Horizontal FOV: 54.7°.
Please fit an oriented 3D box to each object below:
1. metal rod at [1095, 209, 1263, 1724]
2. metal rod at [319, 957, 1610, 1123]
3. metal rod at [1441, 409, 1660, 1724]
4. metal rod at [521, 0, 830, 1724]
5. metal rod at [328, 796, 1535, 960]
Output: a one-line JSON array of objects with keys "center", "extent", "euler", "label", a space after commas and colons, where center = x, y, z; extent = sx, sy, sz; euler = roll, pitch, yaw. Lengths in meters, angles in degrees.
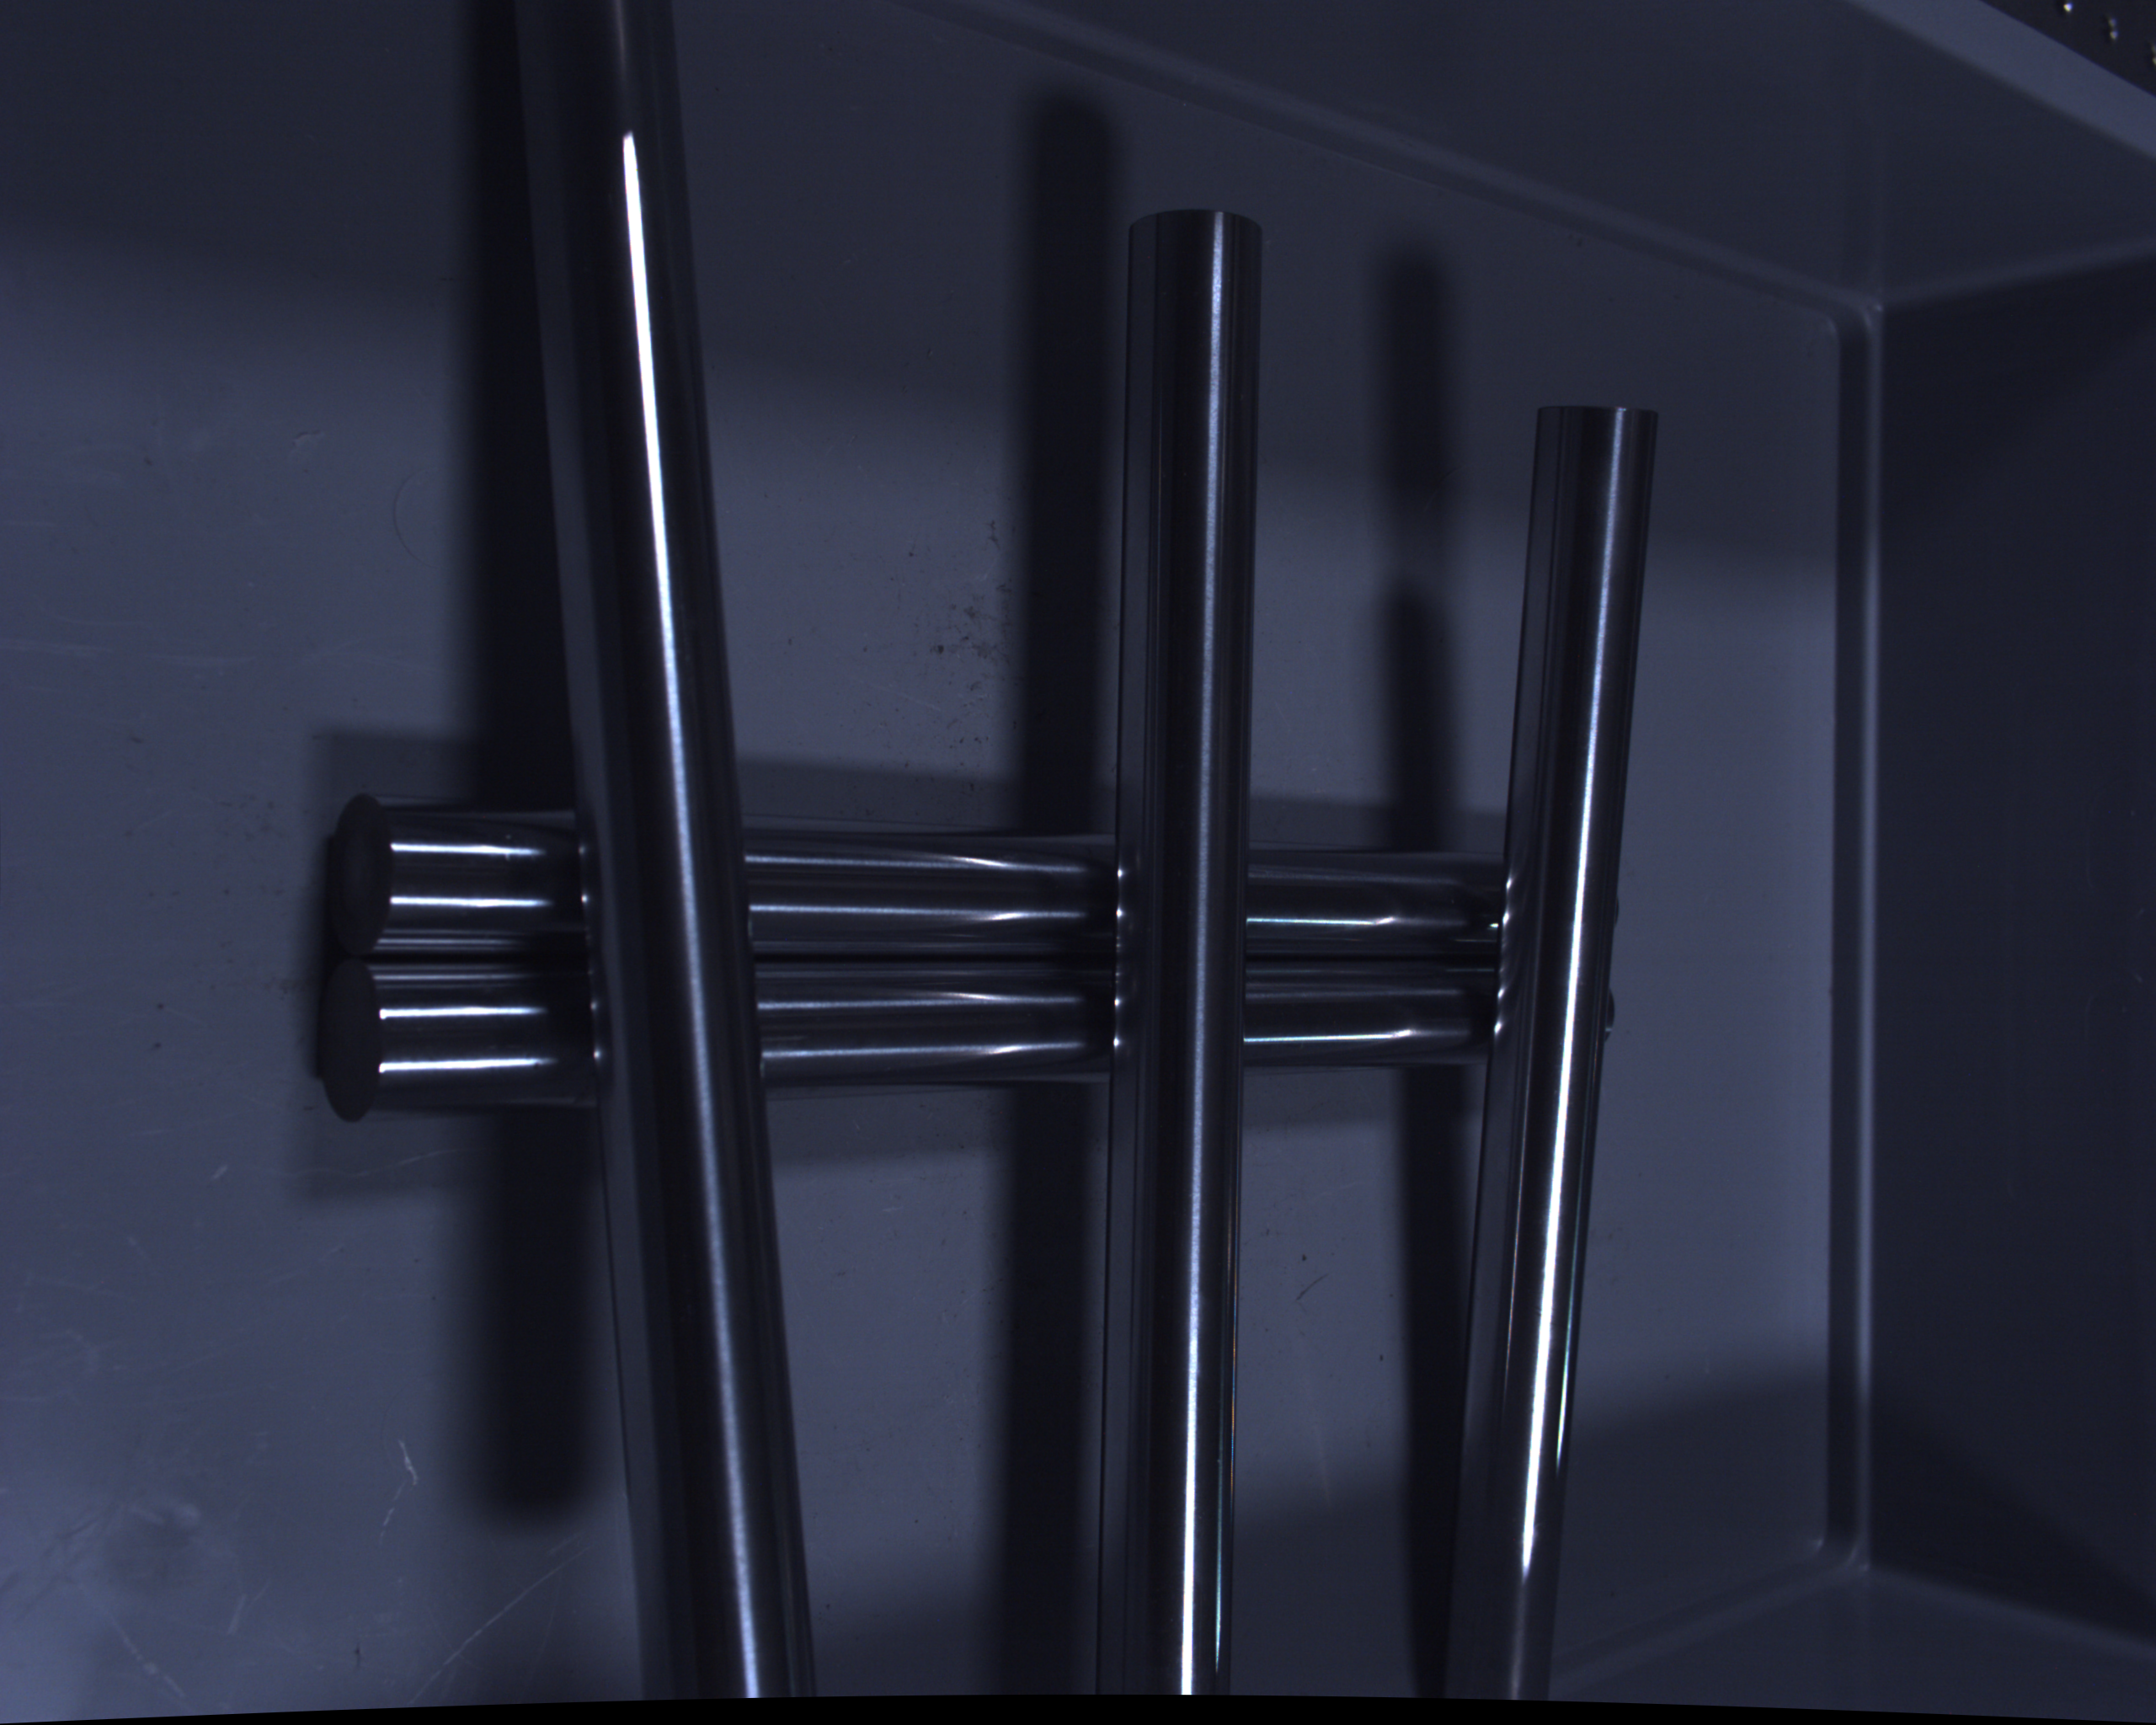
[{"center": [0.019, 0.030, 0.391], "extent": [0.025, 0.025, 0.298], "euler": [2, 89, -40], "label": "metal rod"}, {"center": [0.006, 0.031, 0.412], "extent": [0.302, 0.025, 0.025], "euler": [2, 89, -40], "label": "metal rod"}, {"center": [0.104, 0.052, 0.466], "extent": [0.025, 0.025, 0.298], "euler": [-5, 102, -40], "label": "metal rod"}, {"center": [-0.064, -0.013, 0.322], "extent": [0.025, 0.025, 0.298], "euler": [-1, 83, -40], "label": "metal rod"}, {"center": [0.007, 0.007, 0.413], "extent": [0.302, 0.025, 0.025], "euler": [2, 89, -40], "label": "metal rod"}]
